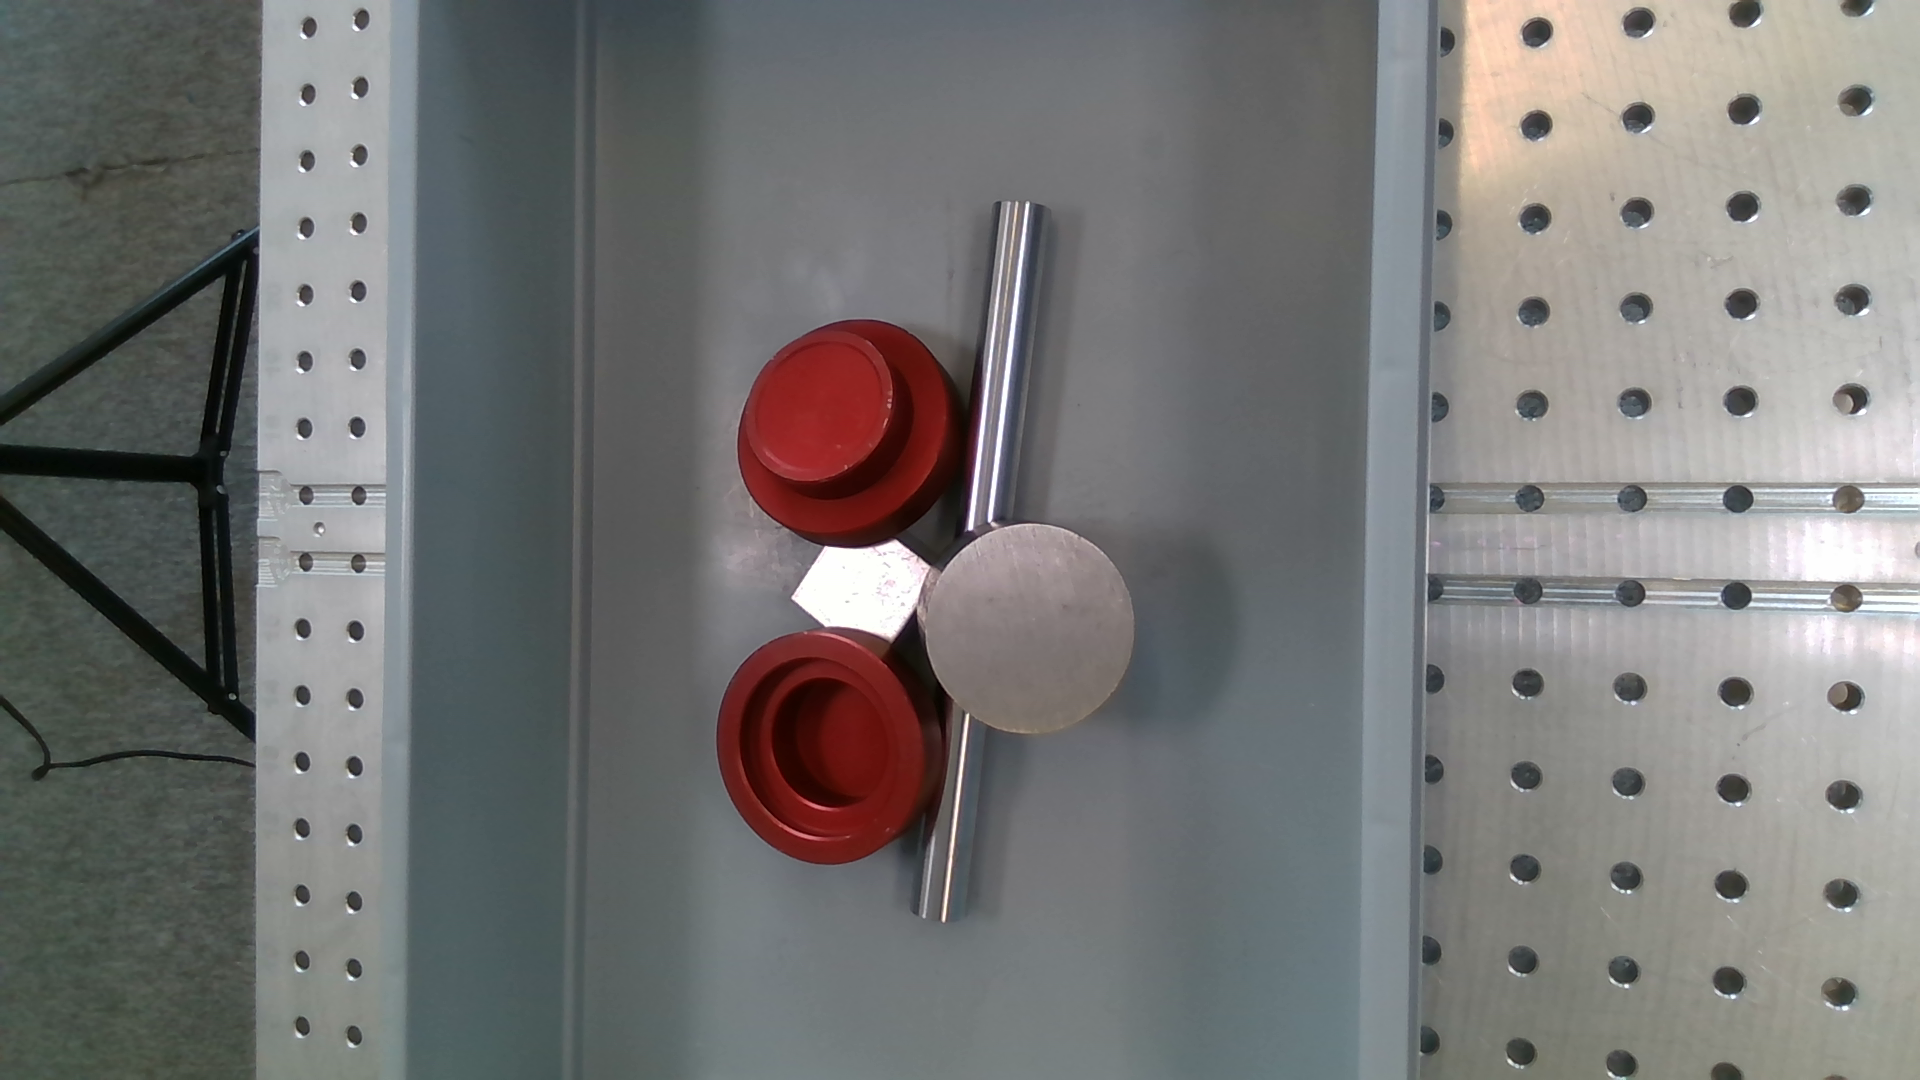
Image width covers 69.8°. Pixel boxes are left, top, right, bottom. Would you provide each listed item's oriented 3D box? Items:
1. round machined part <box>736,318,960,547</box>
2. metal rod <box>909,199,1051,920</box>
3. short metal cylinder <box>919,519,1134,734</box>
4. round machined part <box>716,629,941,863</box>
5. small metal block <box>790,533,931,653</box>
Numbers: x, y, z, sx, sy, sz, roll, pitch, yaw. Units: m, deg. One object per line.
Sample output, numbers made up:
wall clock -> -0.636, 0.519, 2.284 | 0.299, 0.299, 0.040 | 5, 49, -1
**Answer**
round machined part -> -0.051, -0.049, 0.580 | 0.098, 0.042, 0.098 | -7, 70, 19
metal rod -> 0.008, 0.010, 0.582 | 0.025, 0.025, 0.300 | 8, 93, 20
short metal cylinder -> 0.024, 0.032, 0.547 | 0.080, 0.050, 0.080 | 0, 94, -5
round machined part -> -0.053, 0.086, 0.593 | 0.098, 0.042, 0.098 | 2, 94, 23
small metal block -> -0.037, 0.020, 0.598 | 0.050, 0.025, 0.050 | 38, 103, 16
